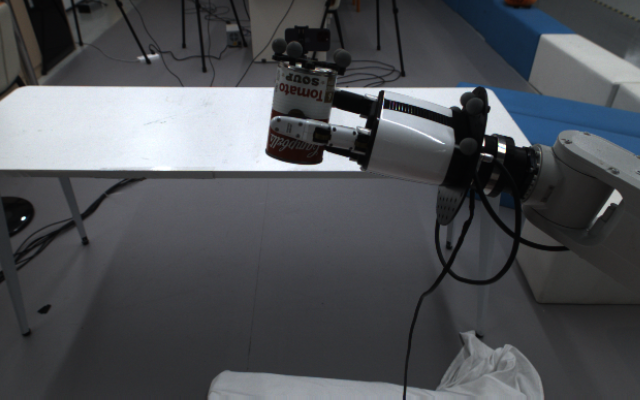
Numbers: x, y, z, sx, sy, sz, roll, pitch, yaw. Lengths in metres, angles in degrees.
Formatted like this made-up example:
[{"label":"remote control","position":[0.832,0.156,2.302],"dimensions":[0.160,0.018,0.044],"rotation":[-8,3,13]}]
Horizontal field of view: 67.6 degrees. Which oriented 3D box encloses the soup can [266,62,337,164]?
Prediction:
[{"label":"soup can","position":[-0.021,-0.099,0.546],"dimensions":[0.067,0.101,0.067],"rotation":[9,20,-3]}]
